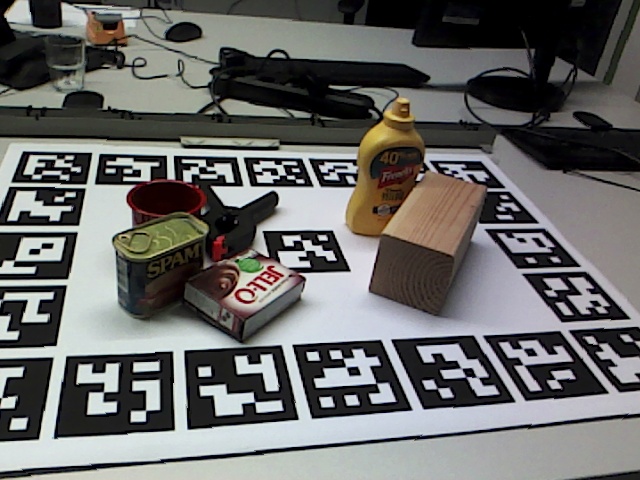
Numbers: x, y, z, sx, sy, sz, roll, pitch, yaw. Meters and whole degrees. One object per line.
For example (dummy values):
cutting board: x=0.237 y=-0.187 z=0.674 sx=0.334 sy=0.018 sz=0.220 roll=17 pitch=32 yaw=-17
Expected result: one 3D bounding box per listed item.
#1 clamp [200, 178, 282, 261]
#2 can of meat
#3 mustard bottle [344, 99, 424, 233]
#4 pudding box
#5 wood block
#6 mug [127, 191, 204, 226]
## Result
clamp: x=-0.123 y=-0.030 z=0.849 sx=0.122 sy=0.036 sz=0.165 roll=11 pitch=35 yaw=1
can of meat: x=-0.177 y=0.027 z=0.690 sx=0.101 sy=0.083 sz=0.058 roll=-22 pitch=46 yaw=-39
mustard bottle: x=0.094 y=-0.102 z=0.858 sx=0.096 sy=0.191 sz=0.059 roll=-4 pitch=36 yaw=-18
pudding box: x=-0.082 y=0.061 z=0.712 sx=0.090 sy=0.038 sz=0.113 roll=28 pitch=36 yaw=26
wood block: x=0.149 y=0.001 z=0.815 sx=0.090 sy=0.091 sz=0.206 roll=18 pitch=32 yaw=17
mug: x=-0.193 y=-0.011 z=0.794 sx=0.093 sy=0.081 sz=0.117 roll=12 pitch=35 yaw=4
